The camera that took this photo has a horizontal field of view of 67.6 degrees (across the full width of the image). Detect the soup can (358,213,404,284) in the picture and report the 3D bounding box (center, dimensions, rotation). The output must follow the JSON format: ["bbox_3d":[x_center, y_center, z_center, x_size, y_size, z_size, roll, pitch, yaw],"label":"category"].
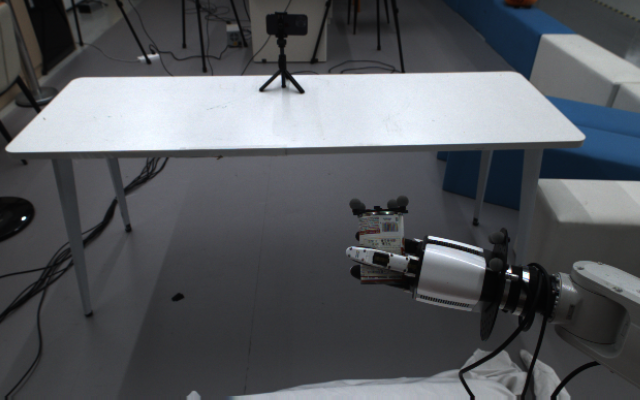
[{"bbox_3d":[0.092,0.072,0.707,0.067,0.101,0.067,-1,-9,0],"label":"soup can"}]
